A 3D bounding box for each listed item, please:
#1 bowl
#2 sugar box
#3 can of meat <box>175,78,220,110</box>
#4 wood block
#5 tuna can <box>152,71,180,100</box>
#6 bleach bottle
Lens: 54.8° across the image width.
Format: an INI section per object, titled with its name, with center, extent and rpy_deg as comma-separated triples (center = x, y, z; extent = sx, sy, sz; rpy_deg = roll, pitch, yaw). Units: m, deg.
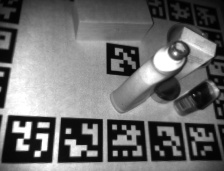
[bowl]
center = 0.248, -0.134, 0.682
extent = 0.162, 0.055, 0.161
rpy_deg = 5, 68, -11
[sugar box]
center = 0.188, -0.084, 0.575
extent = 0.093, 0.176, 0.045
rpy_deg = 22, 67, -3
[can of meat]
center = 0.238, 0.019, 0.608
extent = 0.102, 0.083, 0.057
rpy_deg = -27, 75, -25
[wood block]
center = -0.001, -0.198, 0.615
extent = 0.208, 0.089, 0.090
rpy_deg = -5, 75, -19
[tuna can]
center = 0.151, -0.003, 0.610
extent = 0.086, 0.033, 0.085
rpy_deg = 5, 71, -14
[bleach bottle]
center = 0.080, -0.025, 0.481
extent = 0.103, 0.250, 0.067
rpy_deg = -23, 75, -22
